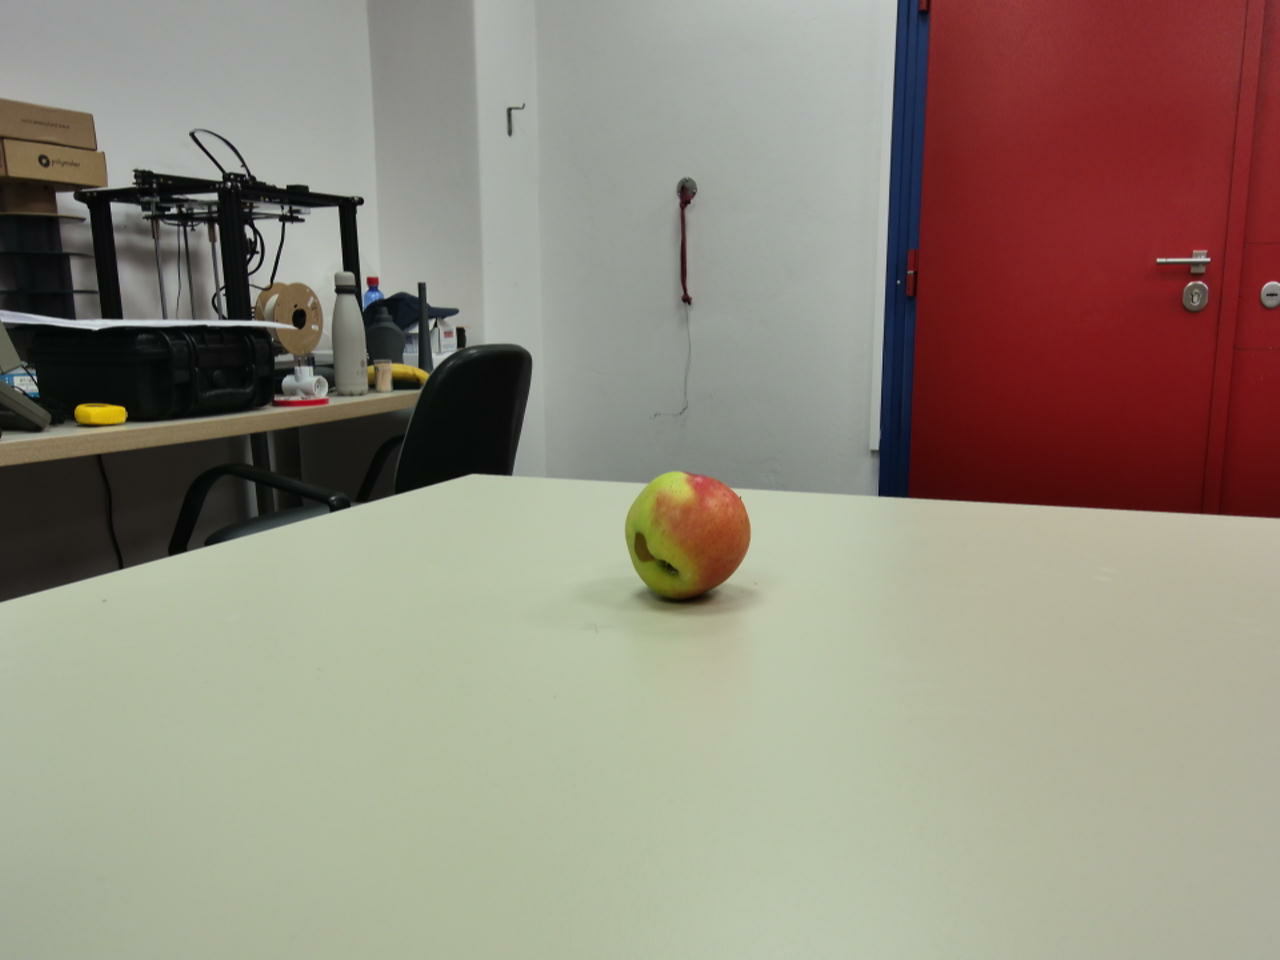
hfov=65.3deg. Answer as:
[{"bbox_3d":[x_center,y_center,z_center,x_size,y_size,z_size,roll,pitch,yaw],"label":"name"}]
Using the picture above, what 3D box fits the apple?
[{"bbox_3d":[0.028,0.033,0.599,0.075,0.074,0.075,1,7,3],"label":"apple"}]
